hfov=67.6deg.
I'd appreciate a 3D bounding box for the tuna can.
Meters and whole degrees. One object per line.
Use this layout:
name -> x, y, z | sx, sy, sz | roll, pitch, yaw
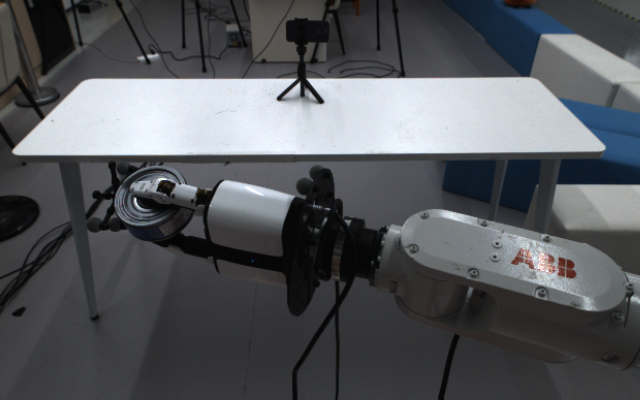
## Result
tuna can -> -0.188, 0.002, 0.559 | 0.085, 0.034, 0.085 | -2, 58, 3
